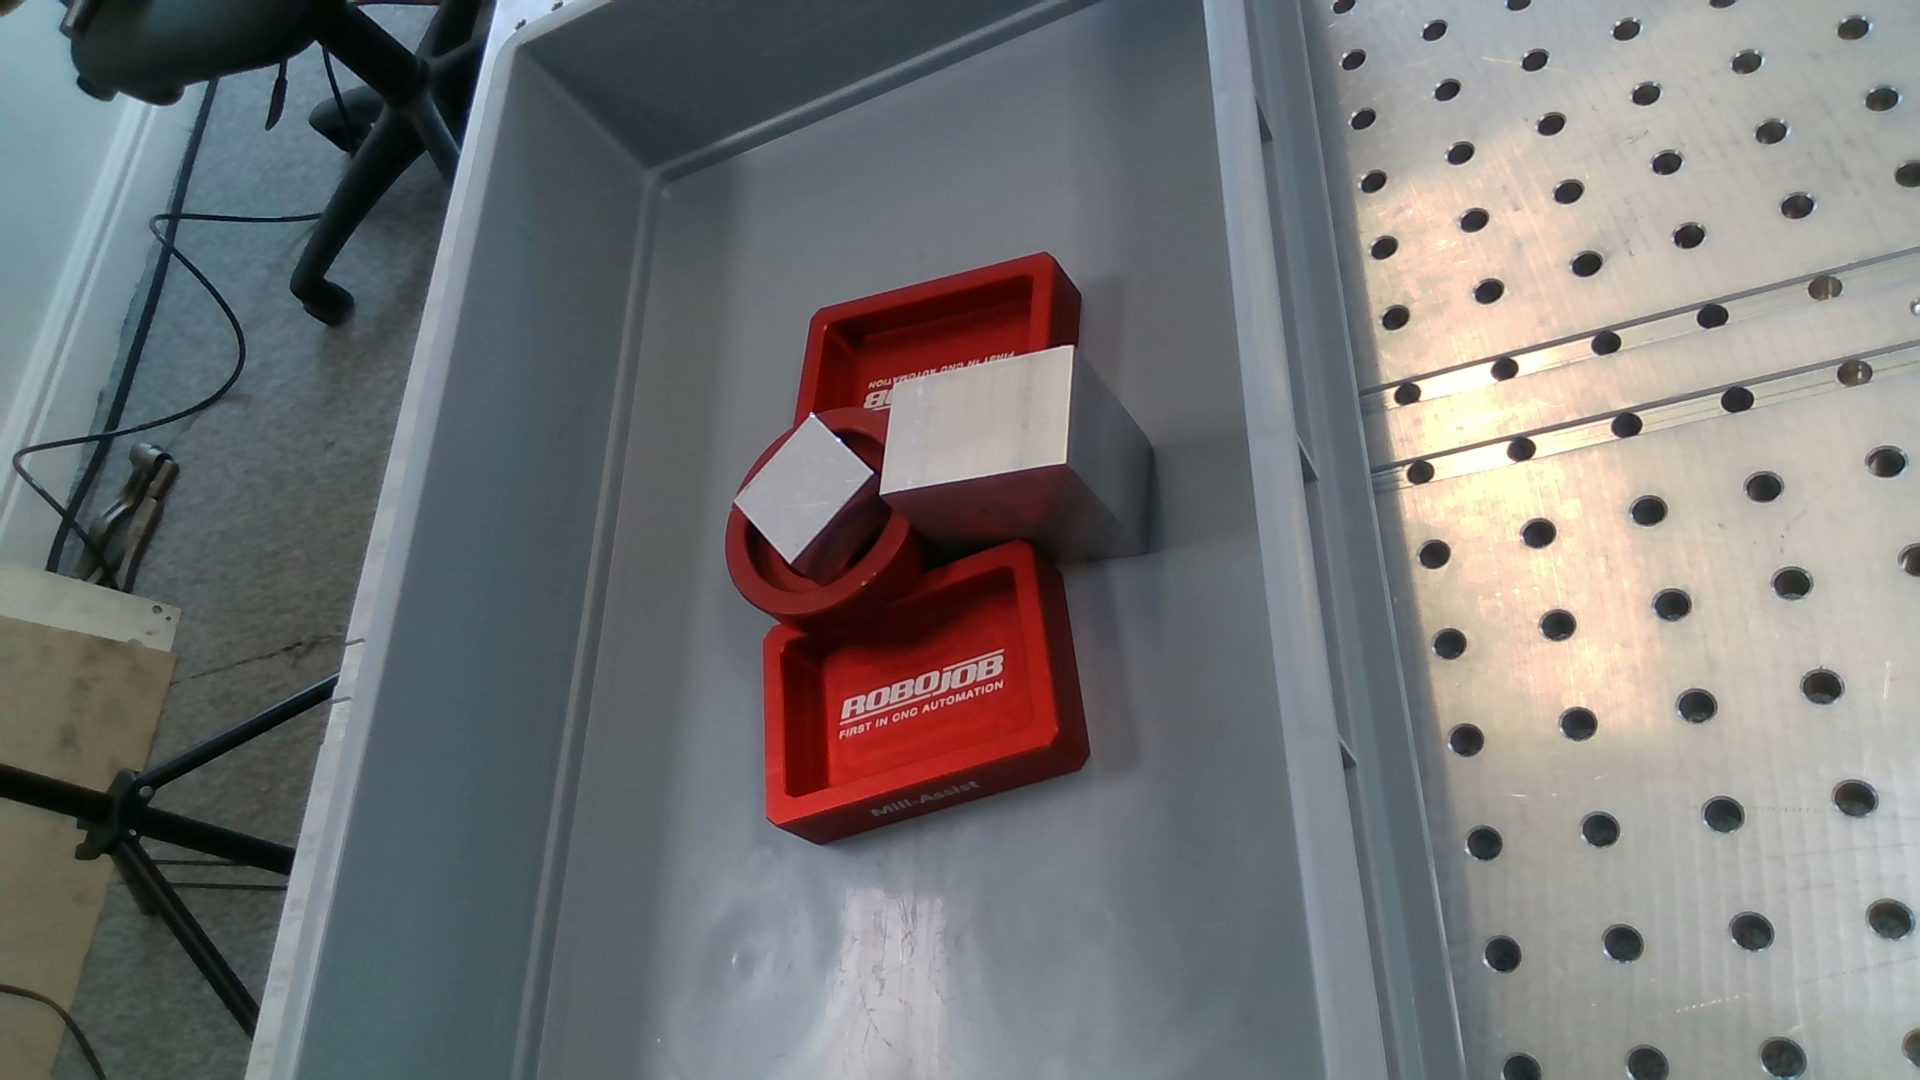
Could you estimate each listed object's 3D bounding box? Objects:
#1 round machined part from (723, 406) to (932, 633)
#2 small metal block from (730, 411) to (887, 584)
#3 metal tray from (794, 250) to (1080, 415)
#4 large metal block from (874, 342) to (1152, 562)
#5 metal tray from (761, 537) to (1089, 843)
[{"bbox_3d":[-0.050,-0.005,0.594,0.098,0.042,0.098,-14,59,25],"label":"round machined part"},{"bbox_3d":[-0.061,-0.018,0.576,0.050,0.025,0.050,-47,51,2],"label":"small metal block"},{"bbox_3d":[-0.013,-0.074,0.627,0.130,0.030,0.090,-8,62,28],"label":"metal tray"},{"bbox_3d":[0.024,-0.029,0.550,0.080,0.080,0.050,-8,61,28],"label":"large metal block"},{"bbox_3d":[-0.018,0.062,0.559,0.130,0.030,0.090,-20,56,21],"label":"metal tray"}]
